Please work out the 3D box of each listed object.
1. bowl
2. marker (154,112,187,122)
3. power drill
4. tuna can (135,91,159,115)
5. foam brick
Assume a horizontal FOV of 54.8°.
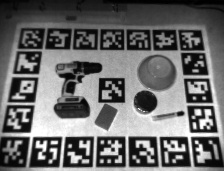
[{"bbox_3d":[0.178,-0.058,0.842,0.161,0.055,0.161,-1,64,2],"label":"bowl"},{"bbox_3d":[0.216,0.114,0.789,0.121,0.020,0.019,-10,72,-5],"label":"marker"},{"bbox_3d":[-0.131,0.018,0.802,0.185,0.057,0.186,-1,68,-5],"label":"power drill"},{"bbox_3d":[0.129,0.064,0.798,0.086,0.034,0.085,1,70,-3],"label":"tuna can"},{"bbox_3d":[-0.014,0.124,0.772,0.051,0.053,0.078,23,73,6],"label":"foam brick"}]
